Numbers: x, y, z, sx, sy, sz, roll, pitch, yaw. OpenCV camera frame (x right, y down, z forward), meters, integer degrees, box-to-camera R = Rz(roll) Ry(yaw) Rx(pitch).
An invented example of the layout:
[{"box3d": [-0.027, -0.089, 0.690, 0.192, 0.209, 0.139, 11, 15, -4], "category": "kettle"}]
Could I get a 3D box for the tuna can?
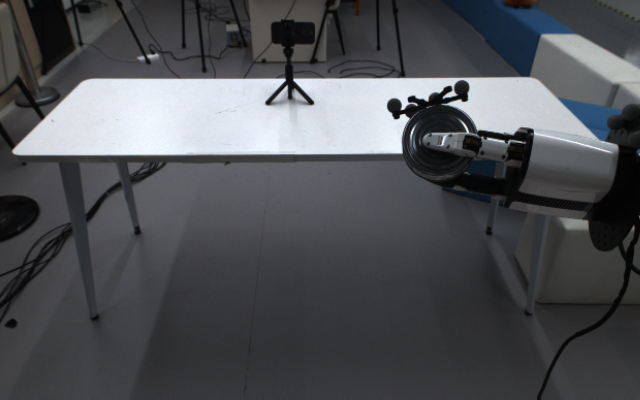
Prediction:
[{"box3d": [0.141, -0.068, 0.563, 0.085, 0.085, 0.034, 12, -6, 14], "category": "tuna can"}]
